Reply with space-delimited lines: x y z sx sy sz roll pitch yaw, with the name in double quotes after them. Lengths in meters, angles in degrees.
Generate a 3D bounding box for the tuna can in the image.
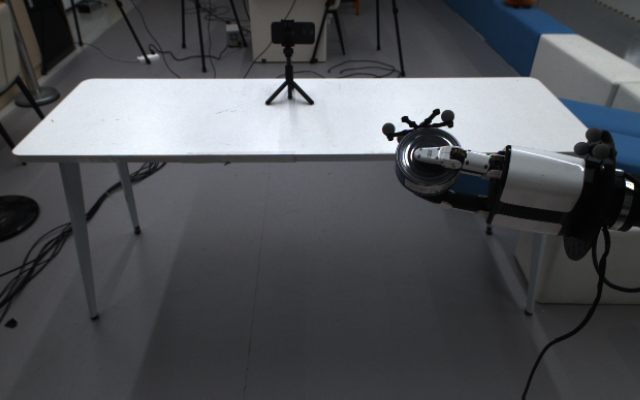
0.142 -0.054 0.628 0.085 0.034 0.085 -4 68 9 "tuna can"
